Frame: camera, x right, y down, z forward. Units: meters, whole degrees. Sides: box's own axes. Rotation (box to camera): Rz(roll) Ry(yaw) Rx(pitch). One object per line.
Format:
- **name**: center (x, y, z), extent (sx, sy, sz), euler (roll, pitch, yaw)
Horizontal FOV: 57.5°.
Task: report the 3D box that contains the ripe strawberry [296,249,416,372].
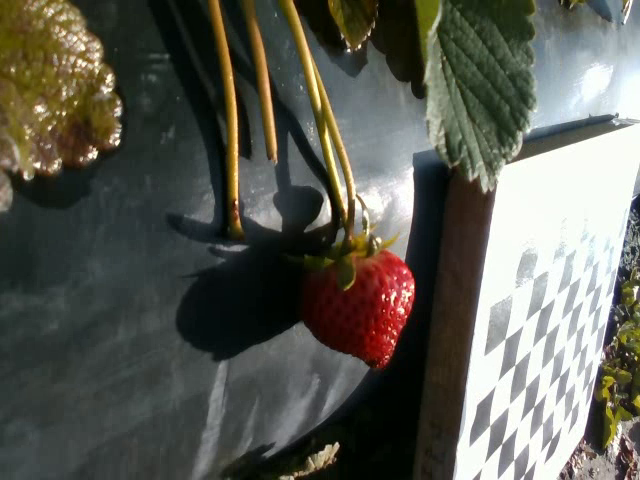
- **ripe strawberry**: center (0.013, 0.023, 0.172), extent (0.036, 0.044, 0.040), euler (5, 34, 43)
